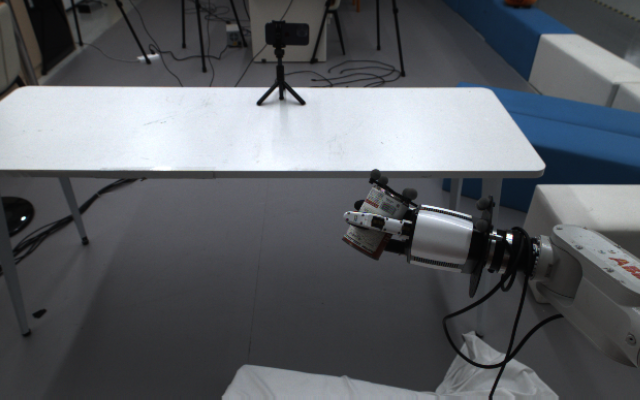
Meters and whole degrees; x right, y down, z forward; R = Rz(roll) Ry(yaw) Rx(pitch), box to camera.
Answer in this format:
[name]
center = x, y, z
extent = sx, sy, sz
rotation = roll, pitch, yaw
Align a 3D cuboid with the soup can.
[soup can]
center = 0.089, 0.035, 0.772
extent = 0.067, 0.101, 0.067
rotation = 30, 1, -1
